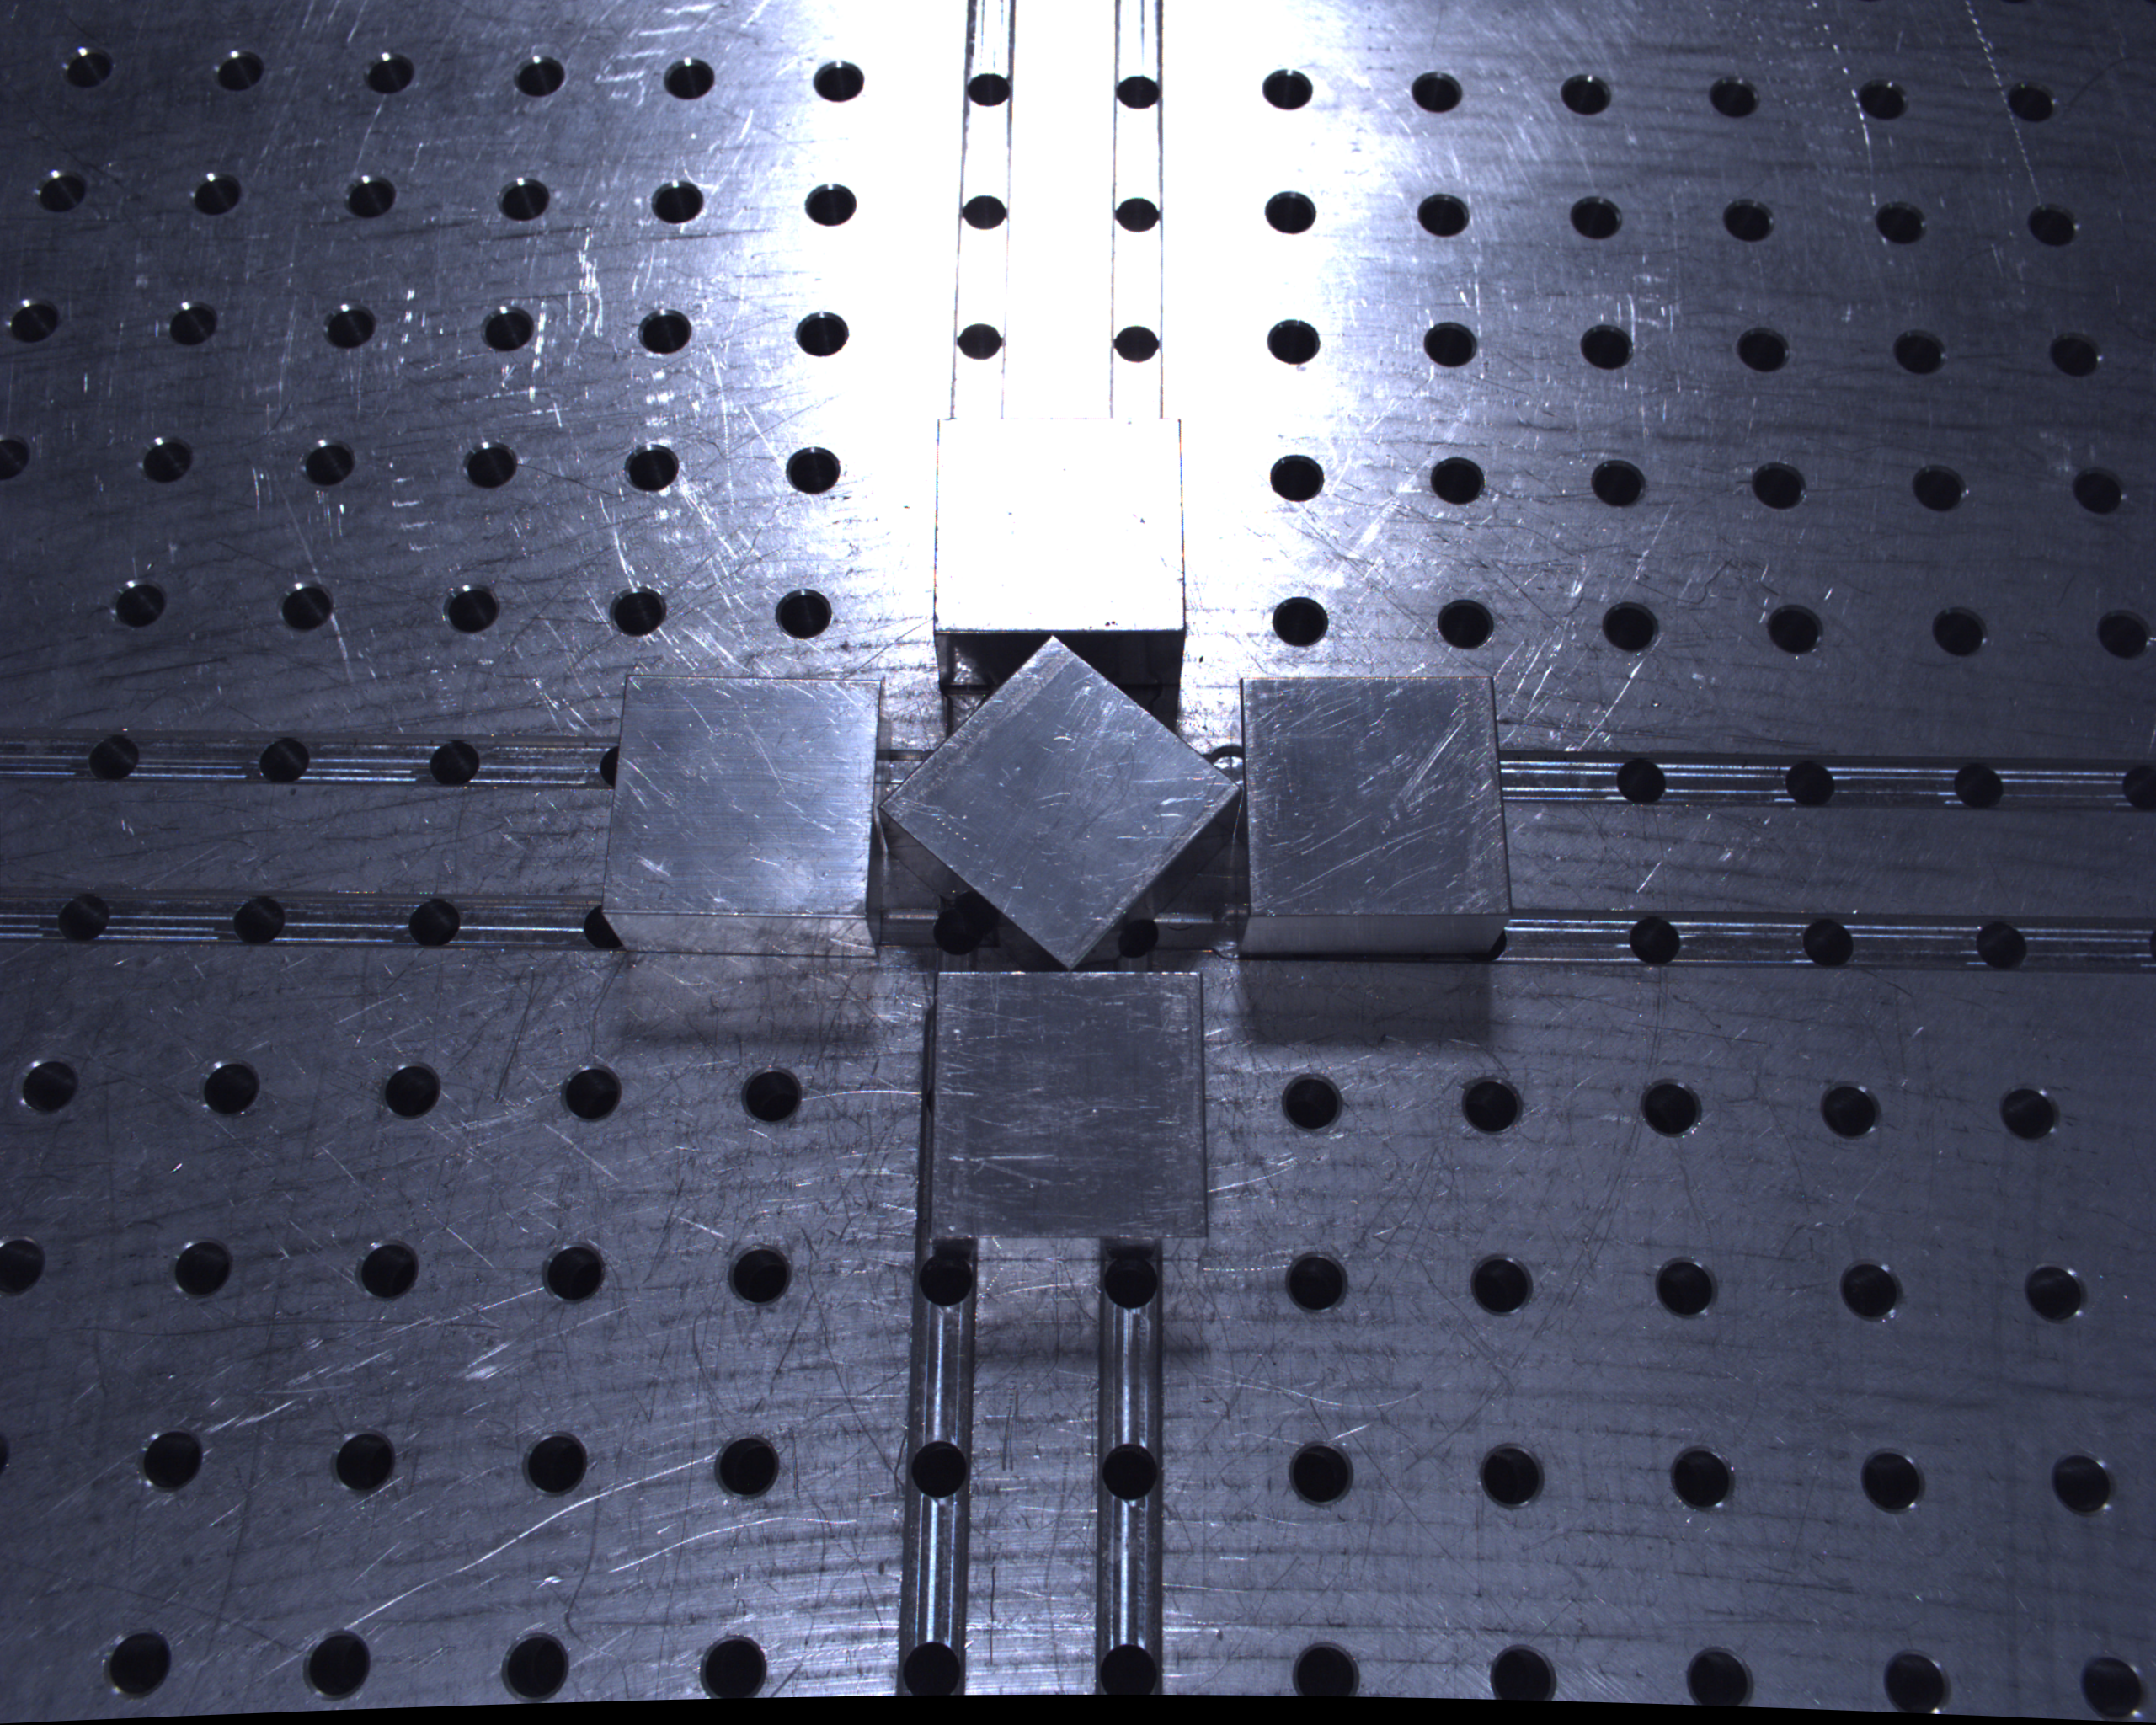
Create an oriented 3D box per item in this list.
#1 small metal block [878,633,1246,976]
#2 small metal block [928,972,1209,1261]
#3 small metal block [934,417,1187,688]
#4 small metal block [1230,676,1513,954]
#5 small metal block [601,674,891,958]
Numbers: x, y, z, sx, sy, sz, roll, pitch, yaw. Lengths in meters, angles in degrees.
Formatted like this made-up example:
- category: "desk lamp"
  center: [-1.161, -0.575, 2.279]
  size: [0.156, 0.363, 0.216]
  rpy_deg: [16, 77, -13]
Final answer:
- category: "small metal block"
  center: [-0.003, -0.008, 0.414]
  size: [0.050, 0.025, 0.050]
  rpy_deg: [40, 75, 13]
- category: "small metal block"
  center: [-0.002, 0.048, 0.394]
  size: [0.050, 0.025, 0.050]
  rpy_deg: [0, 70, 0]
- category: "small metal block"
  center: [-0.004, -0.065, 0.435]
  size: [0.050, 0.025, 0.050]
  rpy_deg: [0, 70, -1]
- category: "small metal block"
  center: [0.057, -0.009, 0.416]
  size: [0.050, 0.025, 0.050]
  rpy_deg: [0, 70, -1]
- category: "small metal block"
  center: [-0.064, -0.009, 0.414]
  size: [0.050, 0.025, 0.050]
  rpy_deg: [1, 70, 0]
